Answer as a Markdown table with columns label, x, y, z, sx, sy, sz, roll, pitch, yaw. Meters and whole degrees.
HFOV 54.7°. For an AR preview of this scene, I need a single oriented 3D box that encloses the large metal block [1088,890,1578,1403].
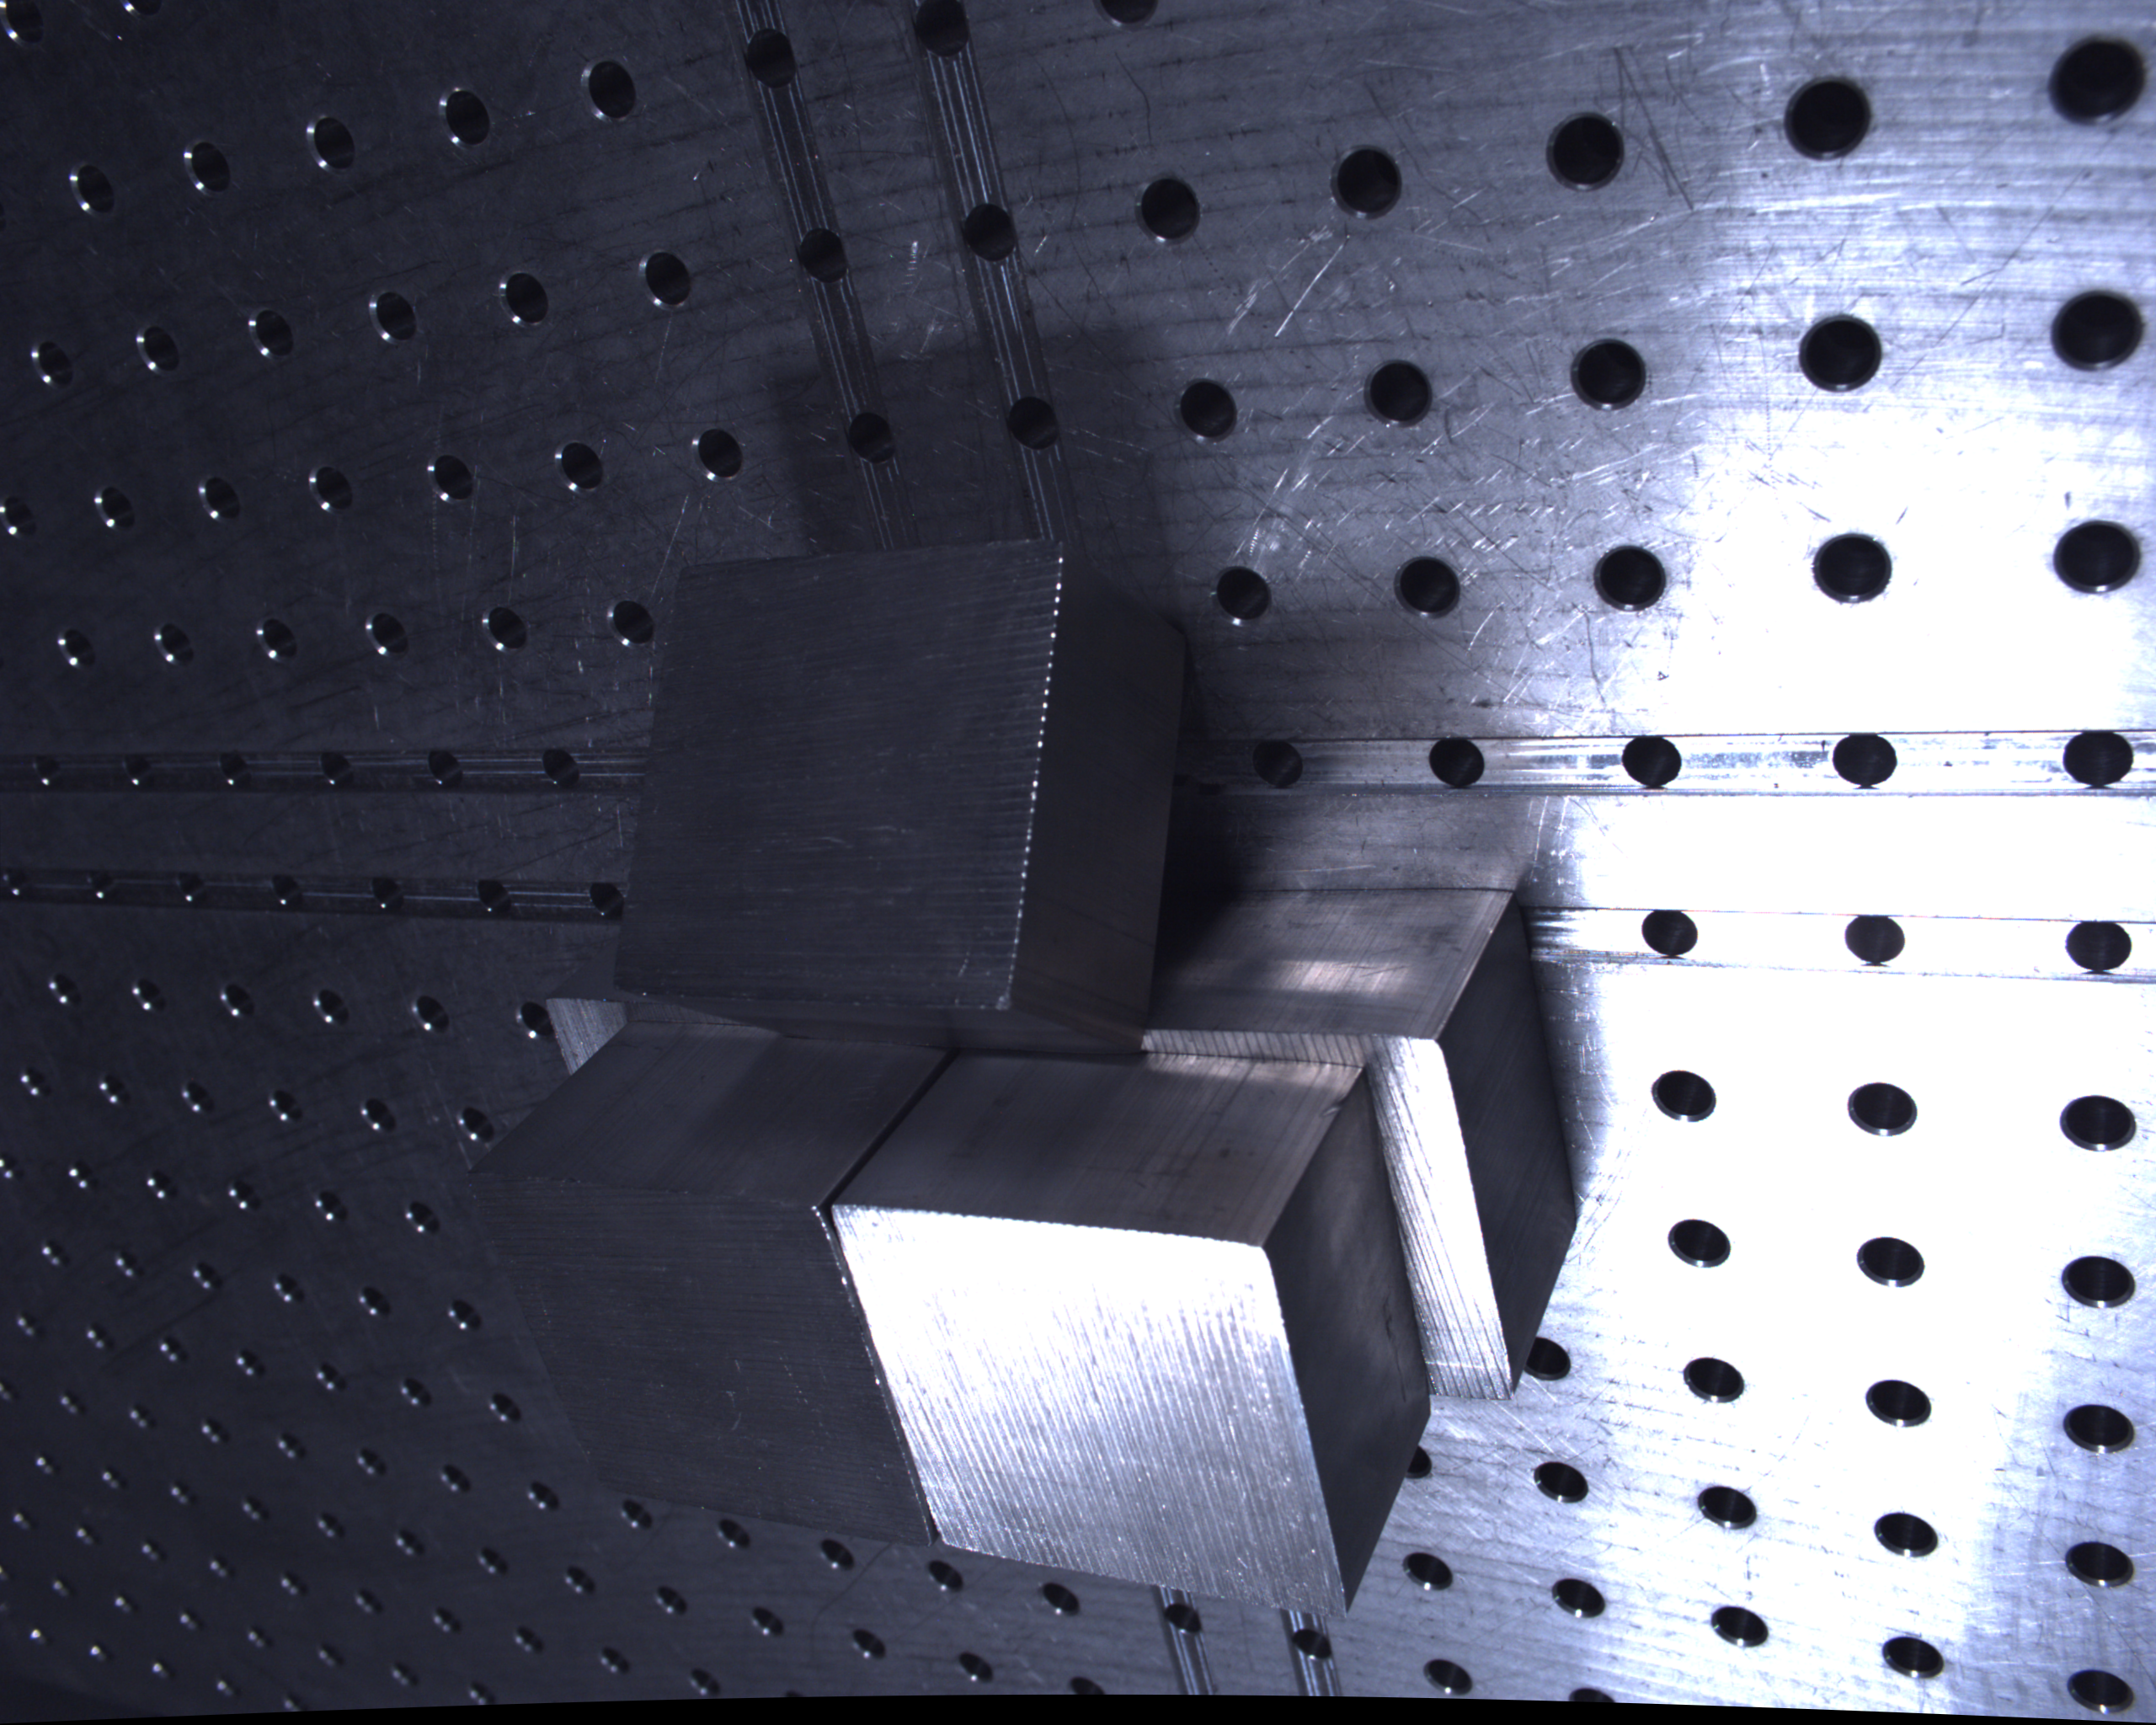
| label | x | y | z | sx | sy | sz | roll | pitch | yaw |
| --- | --- | --- | --- | --- | --- | --- | --- | --- | --- |
| large metal block | 0.045 | 0.052 | 0.402 | 0.080 | 0.050 | 0.080 | -1 | 118 | 28 |

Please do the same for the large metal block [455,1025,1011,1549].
| label | x | y | z | sx | sy | sz | roll | pitch | yaw |
| --- | --- | --- | --- | --- | --- | --- | --- | --- | --- |
| large metal block | -0.061 | 0.080 | 0.407 | 0.080 | 0.050 | 0.080 | 0 | 119 | 28 |

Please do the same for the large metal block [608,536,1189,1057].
| label | x | y | z | sx | sy | sz | roll | pitch | yaw |
| --- | --- | --- | --- | --- | --- | --- | --- | --- | --- |
| large metal block | -0.031 | -0.010 | 0.377 | 0.080 | 0.050 | 0.080 | 0 | 77 | 27 |

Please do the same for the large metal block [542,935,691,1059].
| label | x | y | z | sx | sy | sz | roll | pitch | yaw |
| --- | --- | --- | --- | --- | --- | --- | --- | --- | --- |
| large metal block | -0.058 | 0.051 | 0.456 | 0.080 | 0.050 | 0.079 | 2 | 119 | 27 |

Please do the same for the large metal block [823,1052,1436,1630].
| label | x | y | z | sx | sy | sz | roll | pitch | yaw |
| --- | --- | --- | --- | --- | --- | --- | --- | --- | --- |
| large metal block | 0.012 | 0.082 | 0.371 | 0.080 | 0.050 | 0.080 | 0 | 119 | 28 |
